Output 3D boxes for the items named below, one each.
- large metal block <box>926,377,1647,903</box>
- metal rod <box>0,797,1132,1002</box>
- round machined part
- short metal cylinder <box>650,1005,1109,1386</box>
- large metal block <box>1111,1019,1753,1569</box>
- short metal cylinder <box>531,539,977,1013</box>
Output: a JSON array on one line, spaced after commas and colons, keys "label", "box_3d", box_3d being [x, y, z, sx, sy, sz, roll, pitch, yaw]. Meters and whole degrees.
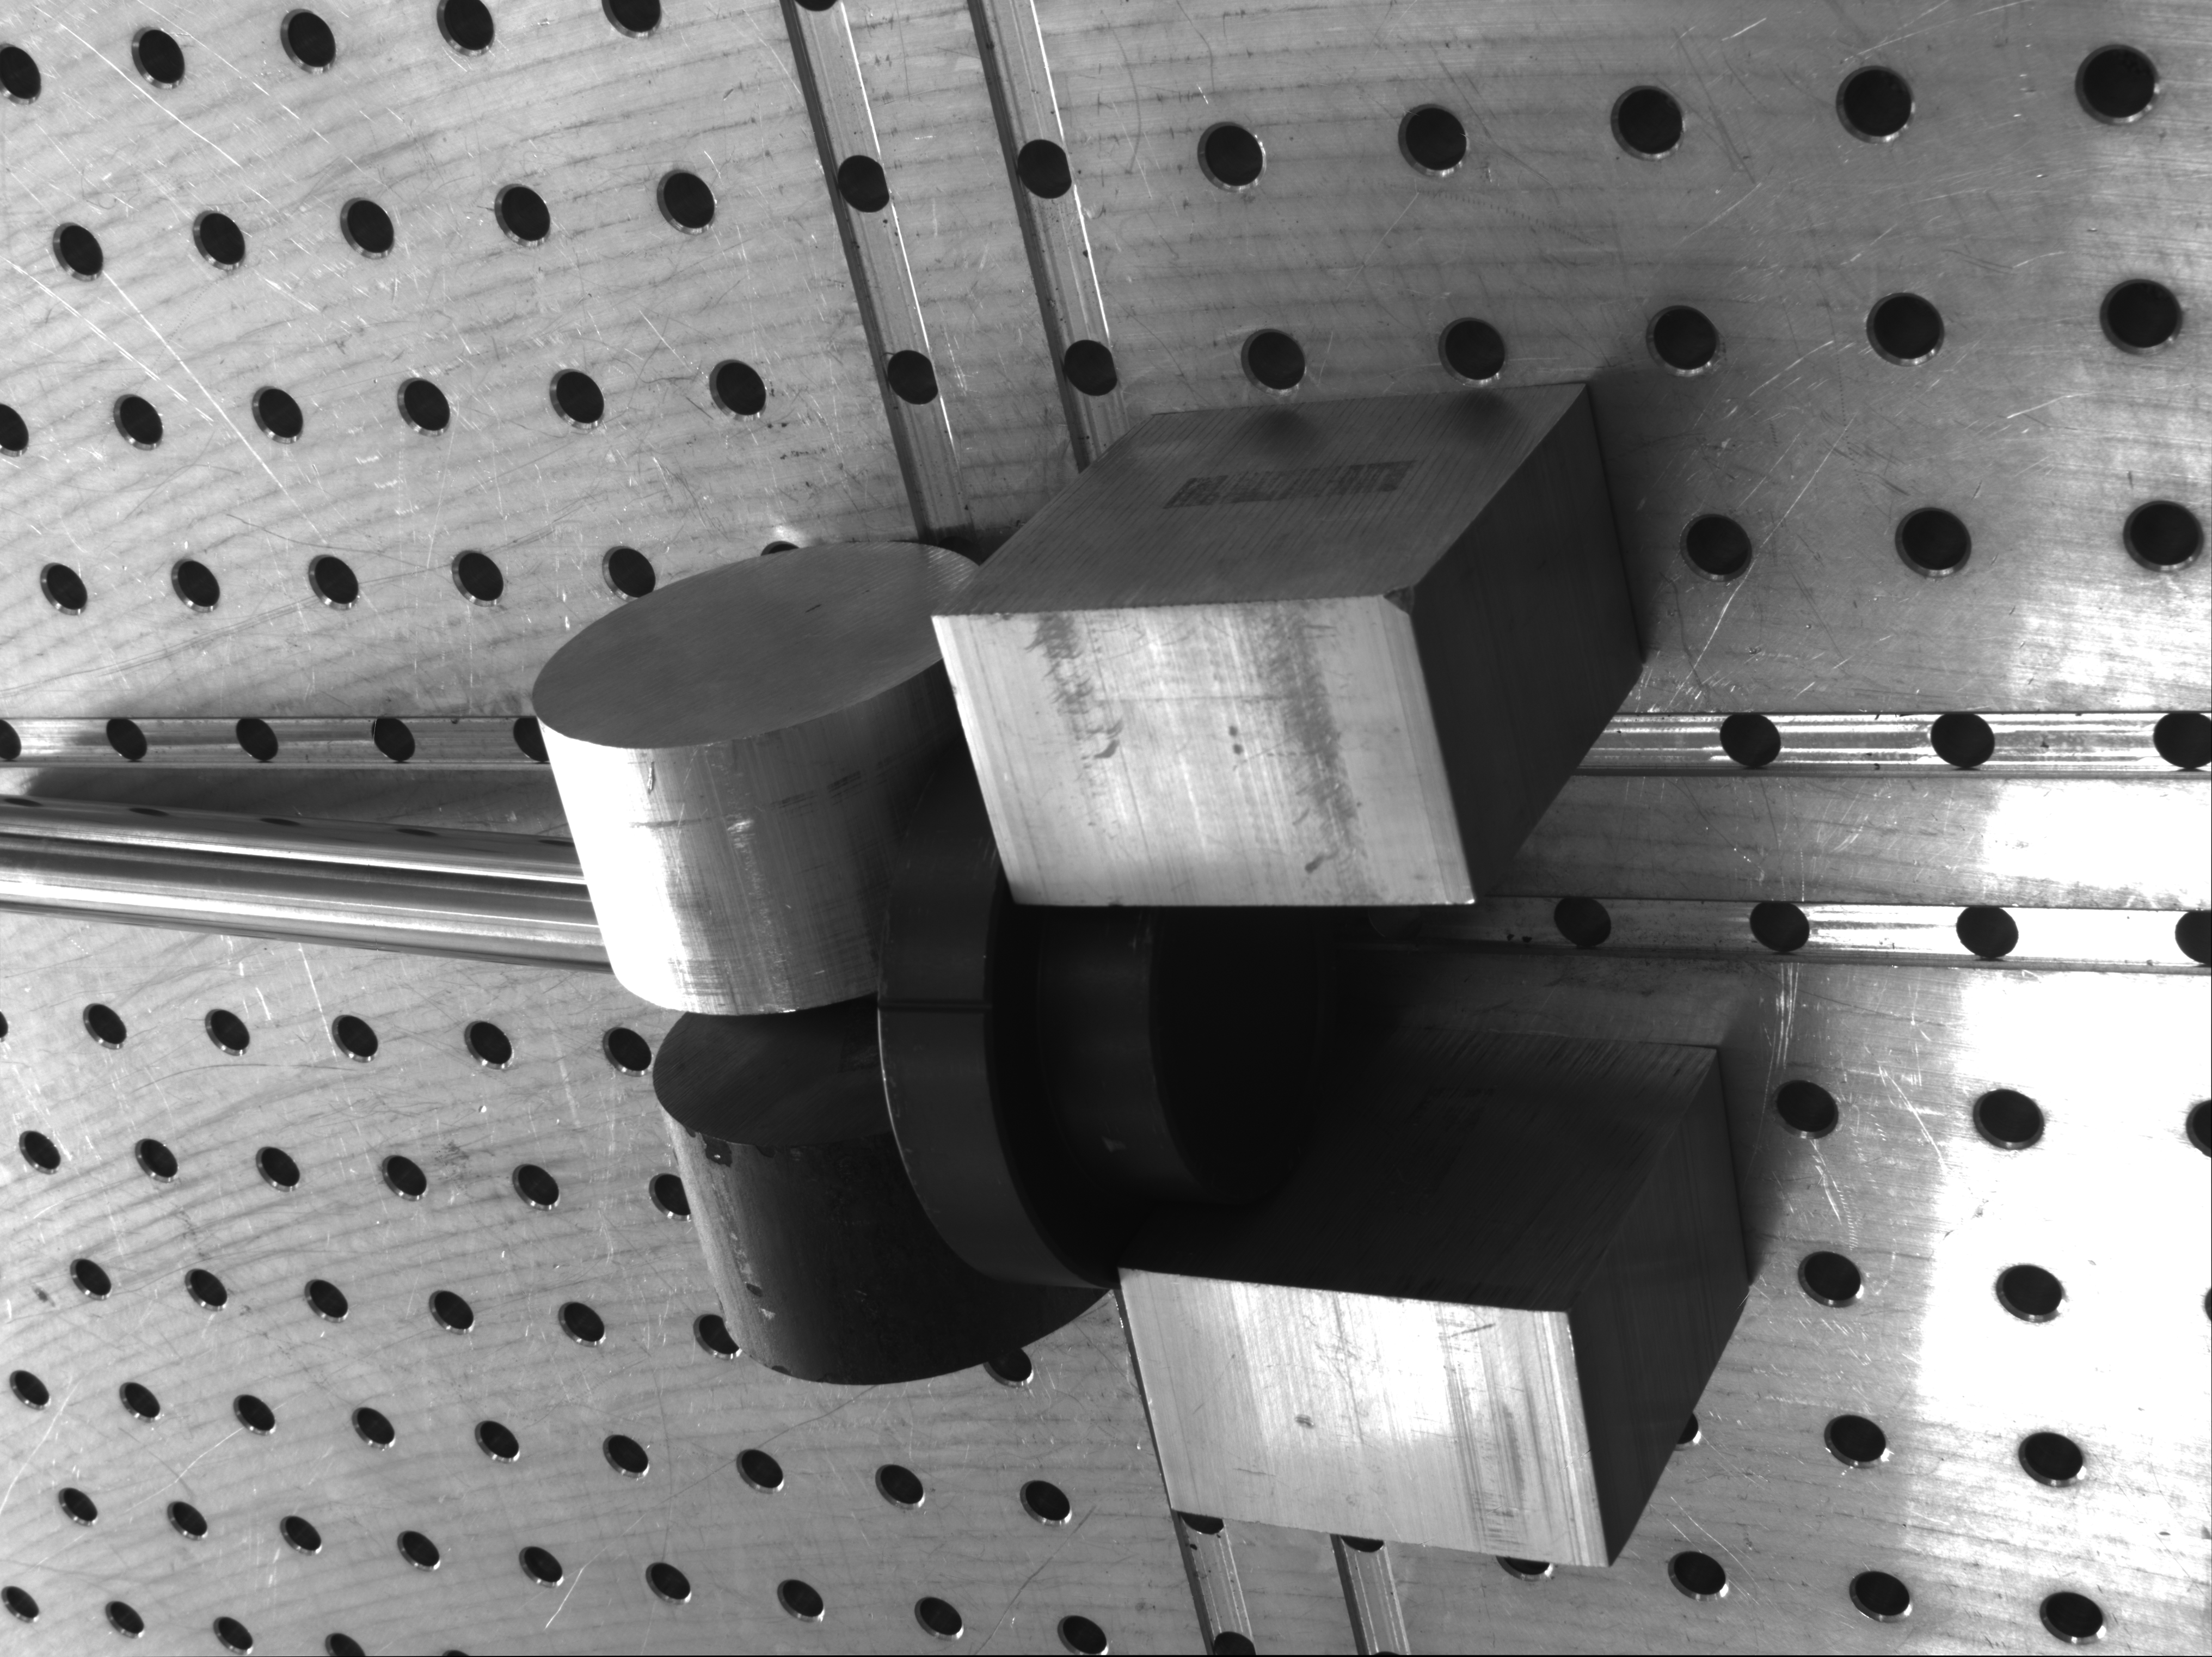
[{"label": "large metal block", "box_3d": [0.031, -0.030, 0.576, 0.080, 0.080, 0.050, 0, 118, 28]}, {"label": "metal rod", "box_3d": [-0.111, 0.014, 0.698, 0.299, 0.025, 0.025, 4, 120, 31]}, {"label": "round machined part", "box_3d": [0.006, 0.028, 0.612, 0.042, 0.098, 0.098, 1, 119, 28]}, {"label": "short metal cylinder", "box_3d": [-0.037, 0.056, 0.663, 0.080, 0.080, 0.050, 1, 119, 28]}, {"label": "large metal block", "box_3d": [0.058, 0.076, 0.627, 0.080, 0.080, 0.050, 3, 119, 27]}, {"label": "short metal cylinder", "box_3d": [-0.053, -0.010, 0.632, 0.080, 0.080, 0.050, 1, 119, 28]}]
